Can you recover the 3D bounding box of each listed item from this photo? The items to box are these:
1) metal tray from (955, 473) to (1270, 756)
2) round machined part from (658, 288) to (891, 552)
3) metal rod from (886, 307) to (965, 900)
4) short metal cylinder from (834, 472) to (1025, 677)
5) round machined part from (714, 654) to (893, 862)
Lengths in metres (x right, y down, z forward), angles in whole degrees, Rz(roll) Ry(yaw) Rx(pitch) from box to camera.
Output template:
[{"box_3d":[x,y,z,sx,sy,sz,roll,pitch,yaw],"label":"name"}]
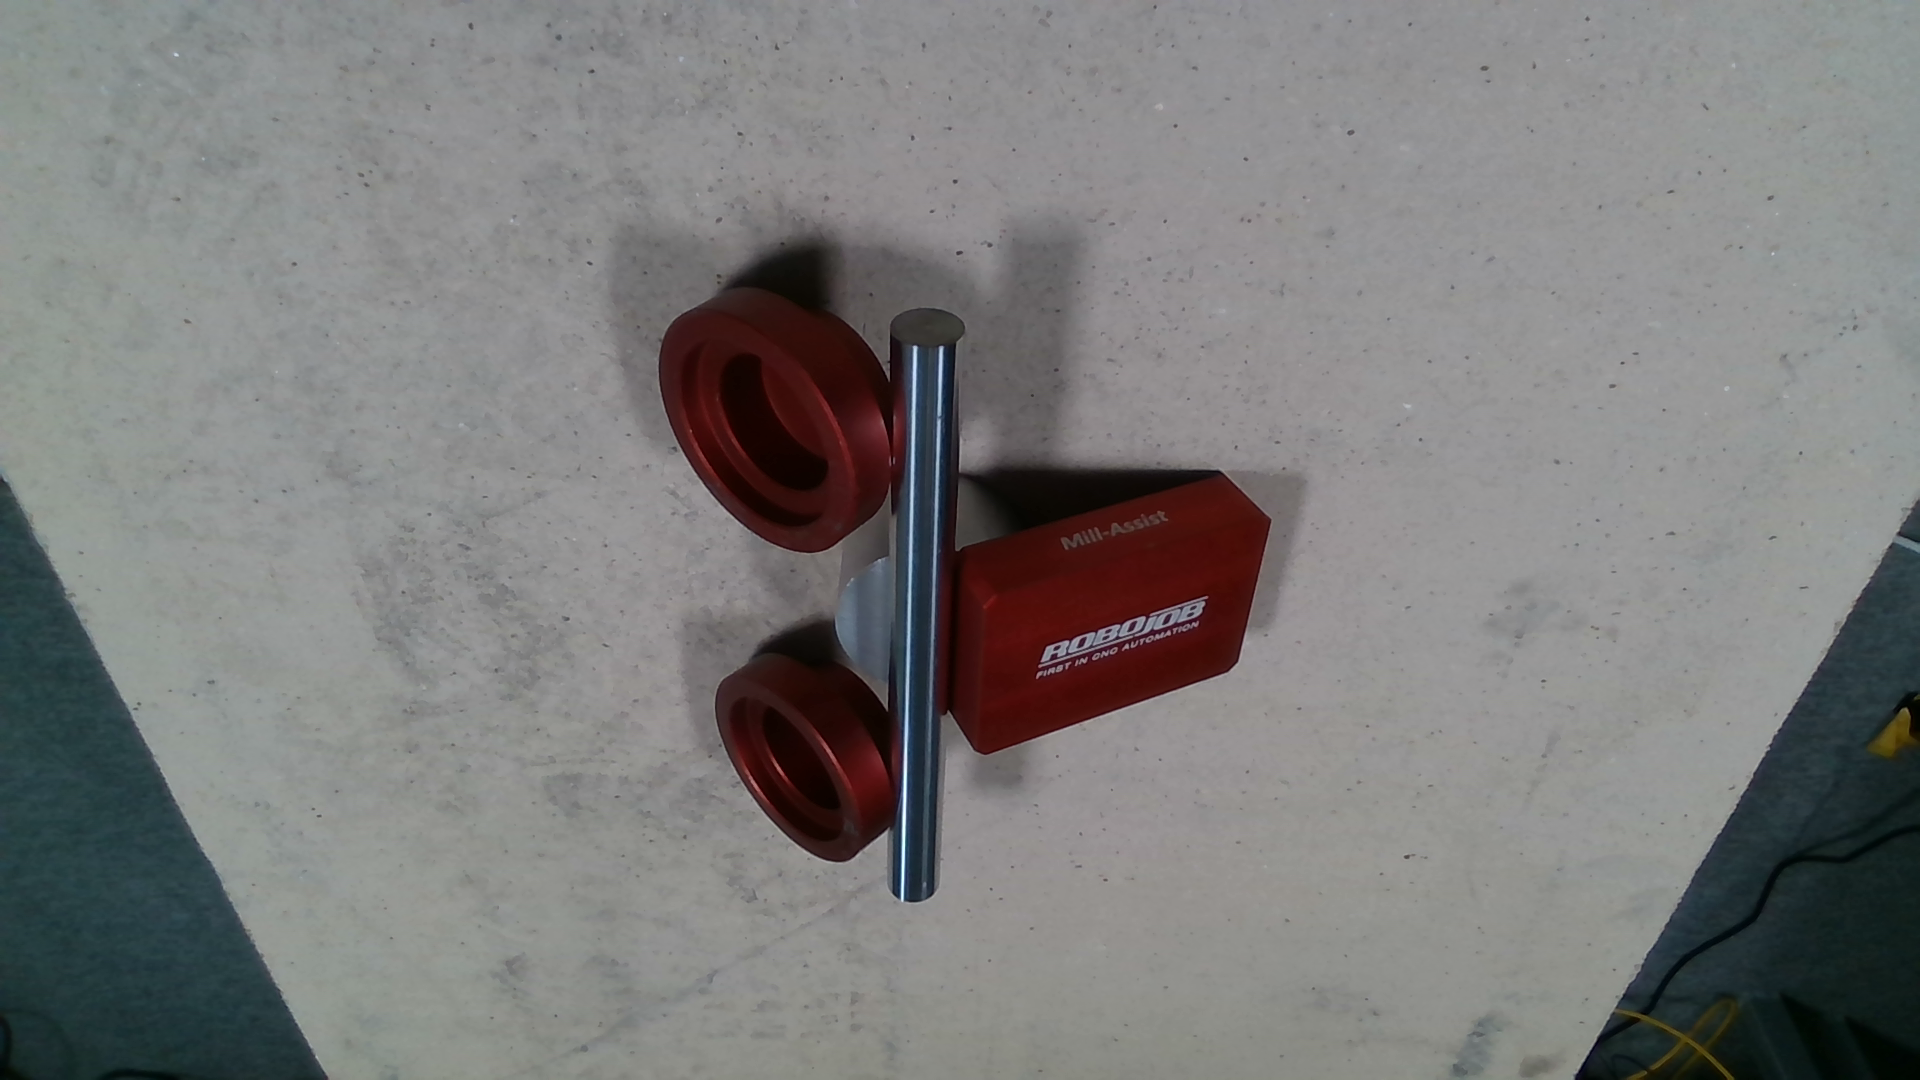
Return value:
[{"box_3d":[0.059,0.031,0.567,0.130,0.030,0.090,-16,133,-21],"label":"metal tray"},{"box_3d":[-0.062,-0.048,0.507,0.098,0.042,0.098,27,138,28],"label":"round machined part"},{"box_3d":[-0.017,0.044,0.552,0.025,0.025,0.301,2,130,-1],"label":"metal rod"},{"box_3d":[-0.011,0.017,0.578,0.080,0.050,0.080,0,130,0],"label":"short metal cylinder"},{"box_3d":[-0.064,0.094,0.624,0.098,0.042,0.098,30,138,32],"label":"round machined part"}]
